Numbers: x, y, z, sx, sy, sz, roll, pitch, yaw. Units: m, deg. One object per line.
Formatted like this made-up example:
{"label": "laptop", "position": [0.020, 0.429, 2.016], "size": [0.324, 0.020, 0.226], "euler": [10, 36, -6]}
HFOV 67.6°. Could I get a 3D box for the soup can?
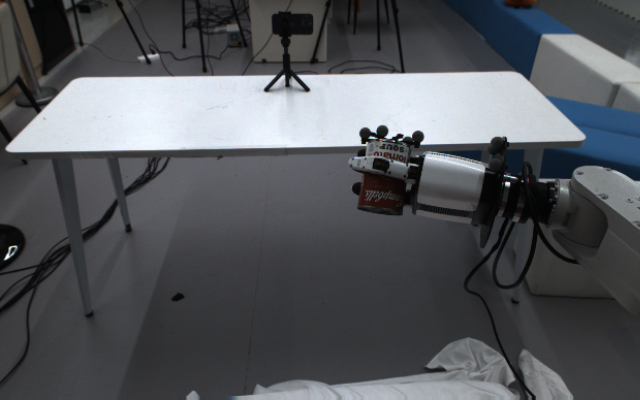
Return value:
{"label": "soup can", "position": [0.096, -0.032, 0.713], "size": [0.067, 0.101, 0.067], "euler": [9, -6, 1]}
